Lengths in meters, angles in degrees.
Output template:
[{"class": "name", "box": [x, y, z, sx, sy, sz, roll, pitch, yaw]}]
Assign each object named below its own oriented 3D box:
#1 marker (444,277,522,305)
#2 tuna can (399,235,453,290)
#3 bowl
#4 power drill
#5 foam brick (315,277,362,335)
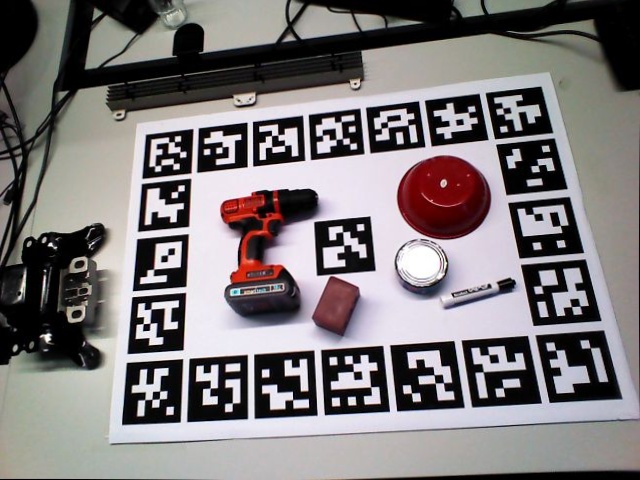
[{"class": "marker", "box": [0.259, 0.080, 0.821, 0.121, 0.020, 0.019, -14, 69, 3]}, {"class": "tuna can", "box": [0.171, 0.037, 0.844, 0.086, 0.034, 0.085, -2, 69, 6]}, {"class": "bowl", "box": [0.215, -0.087, 0.885, 0.162, 0.055, 0.161, -6, 61, 10]}, {"class": "power drill", "box": [-0.089, 0.011, 0.889, 0.185, 0.057, 0.186, -5, 66, 3]}, {"class": "foam brick", "box": [0.031, 0.107, 0.838, 0.051, 0.053, 0.077, 18, 74, 14]}]
